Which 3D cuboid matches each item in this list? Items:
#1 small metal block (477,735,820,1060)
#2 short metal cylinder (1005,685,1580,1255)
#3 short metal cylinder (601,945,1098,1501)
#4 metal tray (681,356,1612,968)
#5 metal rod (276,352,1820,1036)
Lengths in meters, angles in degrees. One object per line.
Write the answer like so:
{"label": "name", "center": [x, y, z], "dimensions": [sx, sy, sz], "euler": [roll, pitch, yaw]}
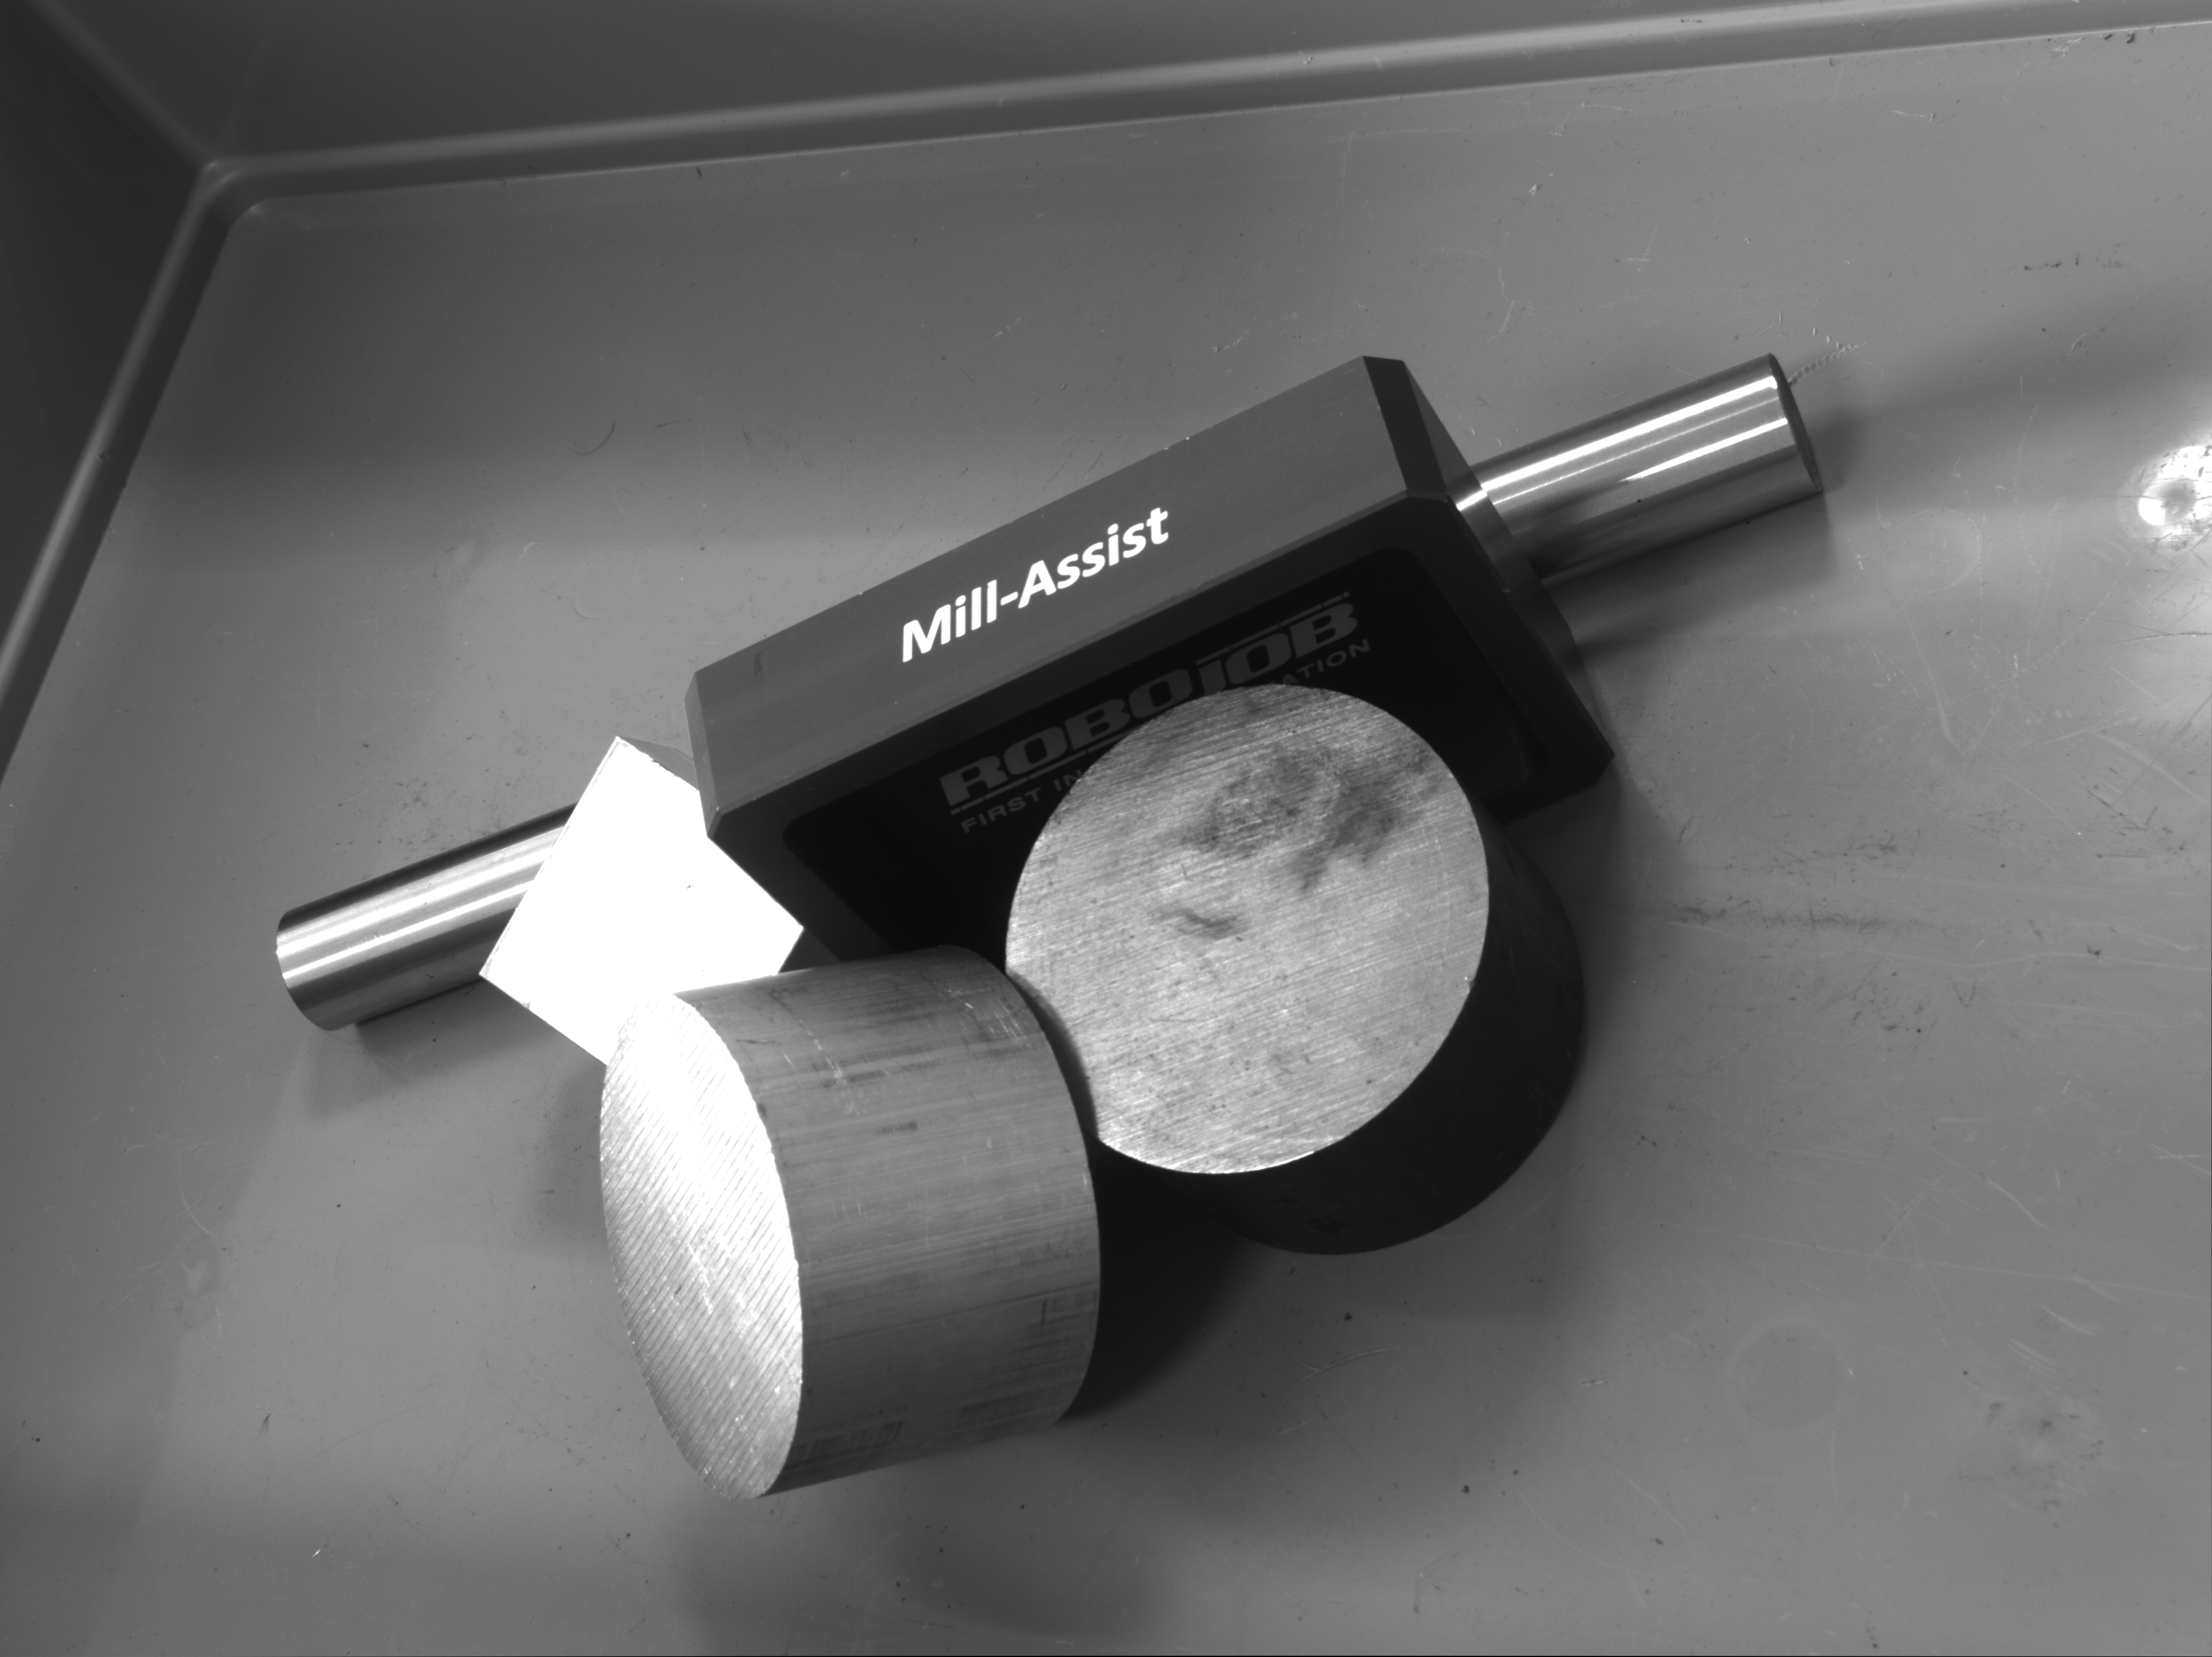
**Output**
{"label": "small metal block", "center": [-0.076, 0.019, 0.657], "dimensions": [0.050, 0.025, 0.050], "euler": [33, 96, 19]}
{"label": "short metal cylinder", "center": [0.031, 0.023, 0.590], "dimensions": [0.080, 0.050, 0.080], "euler": [-9, 67, 21]}
{"label": "short metal cylinder", "center": [-0.042, 0.062, 0.584], "dimensions": [0.050, 0.080, 0.080], "euler": [-9, 45, -27]}
{"label": "metal tray", "center": [0.008, -0.017, 0.608], "dimensions": [0.130, 0.090, 0.030], "euler": [-24, 53, 14]}
{"label": "metal rod", "center": [-0.018, -0.021, 0.666], "dimensions": [0.299, 0.025, 0.025], "euler": [-20, 54, 17]}
